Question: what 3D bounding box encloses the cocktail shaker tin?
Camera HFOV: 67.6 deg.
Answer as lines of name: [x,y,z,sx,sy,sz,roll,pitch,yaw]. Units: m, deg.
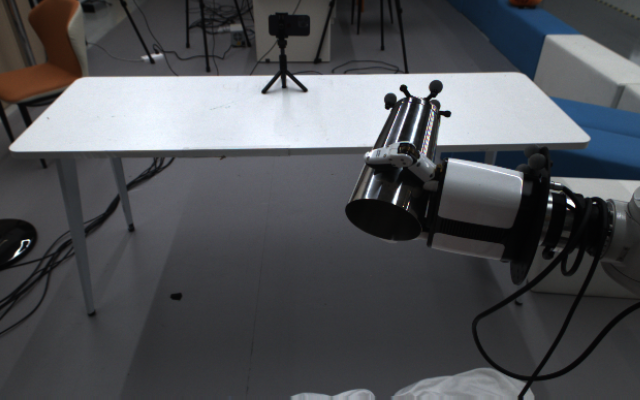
cocktail shaker tin: [0.100,-0.045,0.604,0.093,0.093,0.170,13,60,16]
